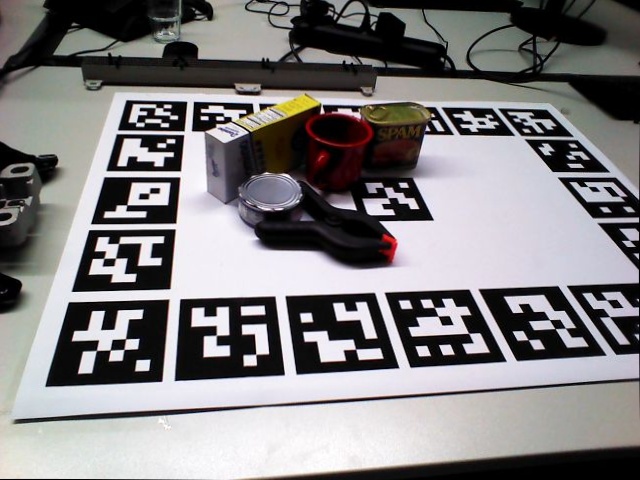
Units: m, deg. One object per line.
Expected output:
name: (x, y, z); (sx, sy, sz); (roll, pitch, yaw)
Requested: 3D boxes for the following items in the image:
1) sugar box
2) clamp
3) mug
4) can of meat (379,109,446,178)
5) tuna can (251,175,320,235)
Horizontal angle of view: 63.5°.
sugar box: (-0.052, -0.119, 0.702); (0.045, 0.093, 0.175); (35, 47, 29)
clamp: (0.039, -0.003, 0.630); (0.165, 0.037, 0.121); (26, 40, 13)
mug: (0.042, -0.112, 0.705); (0.093, 0.082, 0.116); (16, 44, 8)
can of meat: (0.132, -0.142, 0.764); (0.101, 0.084, 0.057); (-6, 42, -17)
tuna can: (-0.045, -0.043, 0.654); (0.086, 0.034, 0.085); (4, 44, -4)
